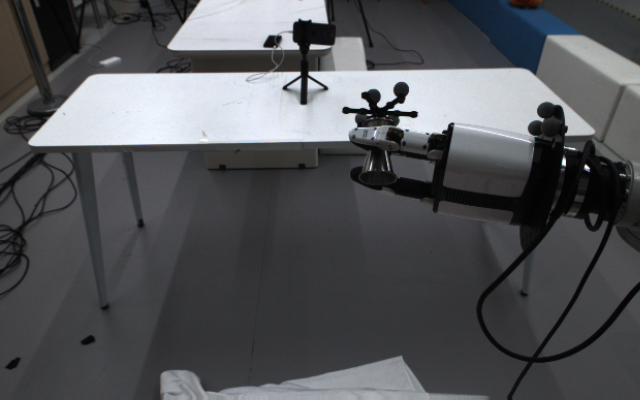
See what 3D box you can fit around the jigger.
[{"bbox_3d":[0.066,-0.056,0.562,0.043,0.043,0.071,4,71,3],"label":"jigger"}]
